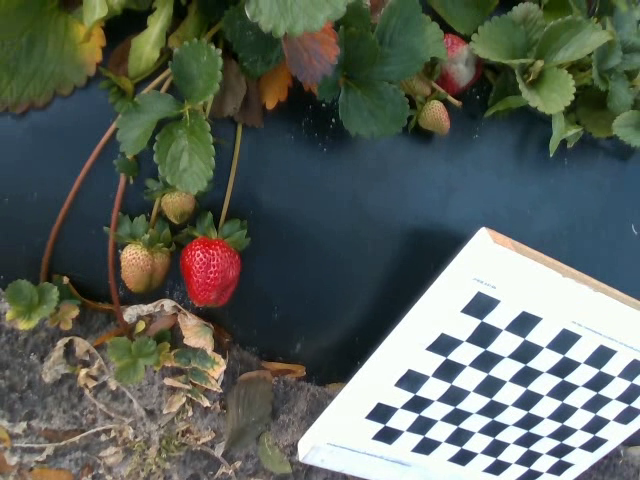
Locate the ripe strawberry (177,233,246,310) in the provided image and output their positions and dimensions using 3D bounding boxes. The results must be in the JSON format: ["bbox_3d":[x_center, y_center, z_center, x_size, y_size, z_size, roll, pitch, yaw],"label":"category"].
[{"bbox_3d":[-0.087,0.029,0.477,0.067,0.075,0.052,5,35,-12],"label":"ripe strawberry"}]
